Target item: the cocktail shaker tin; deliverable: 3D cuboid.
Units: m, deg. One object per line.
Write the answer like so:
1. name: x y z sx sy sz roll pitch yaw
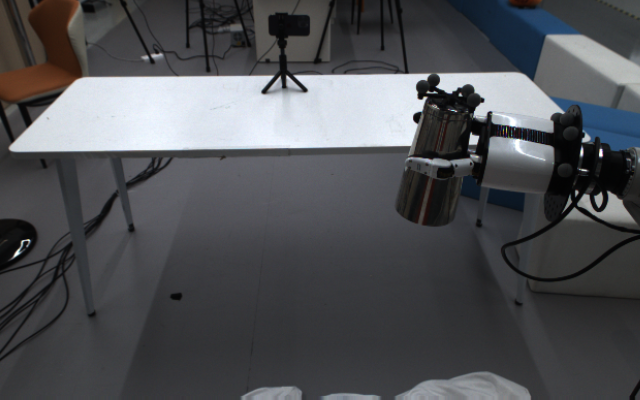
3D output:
1. cocktail shaker tin: 0.167 -0.060 0.692 0.093 0.170 0.093 4 32 -2
